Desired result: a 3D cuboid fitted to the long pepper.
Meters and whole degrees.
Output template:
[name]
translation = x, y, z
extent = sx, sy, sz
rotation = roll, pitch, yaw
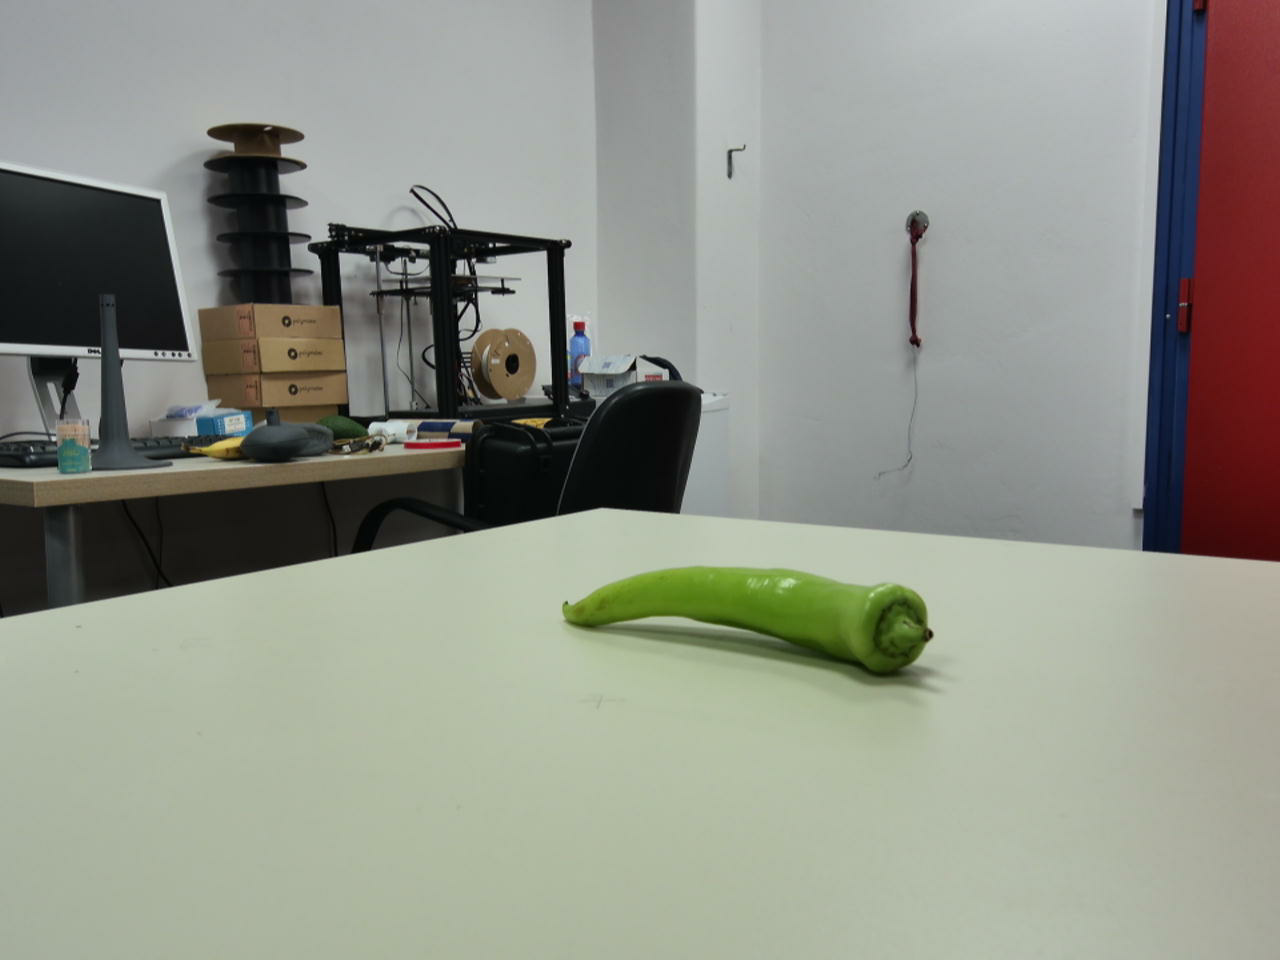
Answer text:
[long pepper]
translation = 0.045, 0.056, 0.455
extent = 0.197, 0.038, 0.046
rotation = 3, 4, 40
